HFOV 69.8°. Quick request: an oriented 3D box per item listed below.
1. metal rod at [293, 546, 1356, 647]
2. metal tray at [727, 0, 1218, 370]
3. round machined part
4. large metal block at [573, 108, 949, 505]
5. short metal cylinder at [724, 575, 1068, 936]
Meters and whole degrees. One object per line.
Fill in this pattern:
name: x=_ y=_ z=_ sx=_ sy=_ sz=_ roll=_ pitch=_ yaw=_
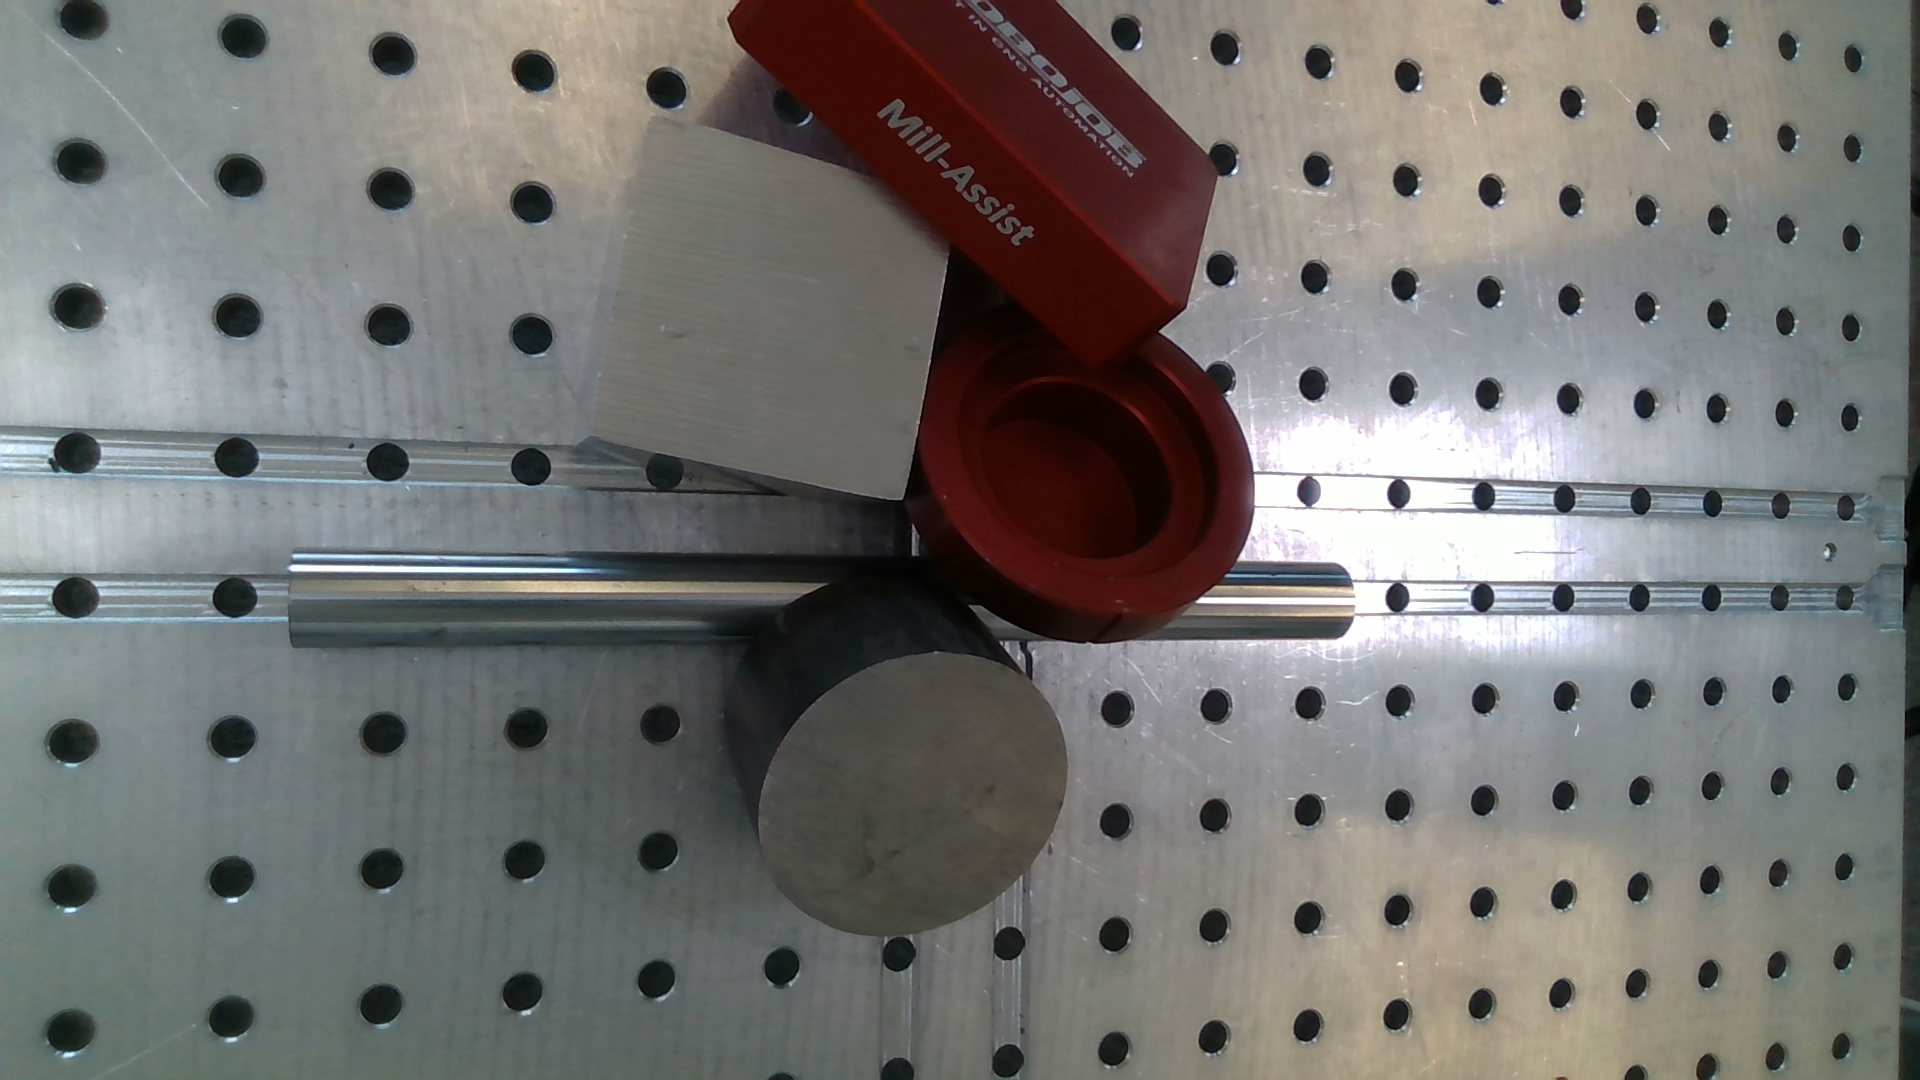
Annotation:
metal rod: x=-0.021 y=0.017 z=0.389 sx=0.300 sy=0.025 sz=0.025 roll=1 pitch=90 yaw=-20
metal tray: x=0.010 y=-0.117 z=0.371 sx=0.130 sy=0.030 sz=0.090 roll=40 pitch=39 yaw=-16
round machined part: x=0.029 y=-0.016 z=0.385 sx=0.098 sy=0.042 sz=0.098 roll=9 pitch=61 yaw=-17
large metal block: x=-0.053 y=-0.057 z=0.364 sx=0.080 sy=0.050 sz=0.080 roll=11 pitch=86 yaw=-20
short metal cylinder: x=-0.018 y=0.056 z=0.363 sx=0.080 sy=0.050 sz=0.080 roll=-7 pitch=112 yaw=-17
